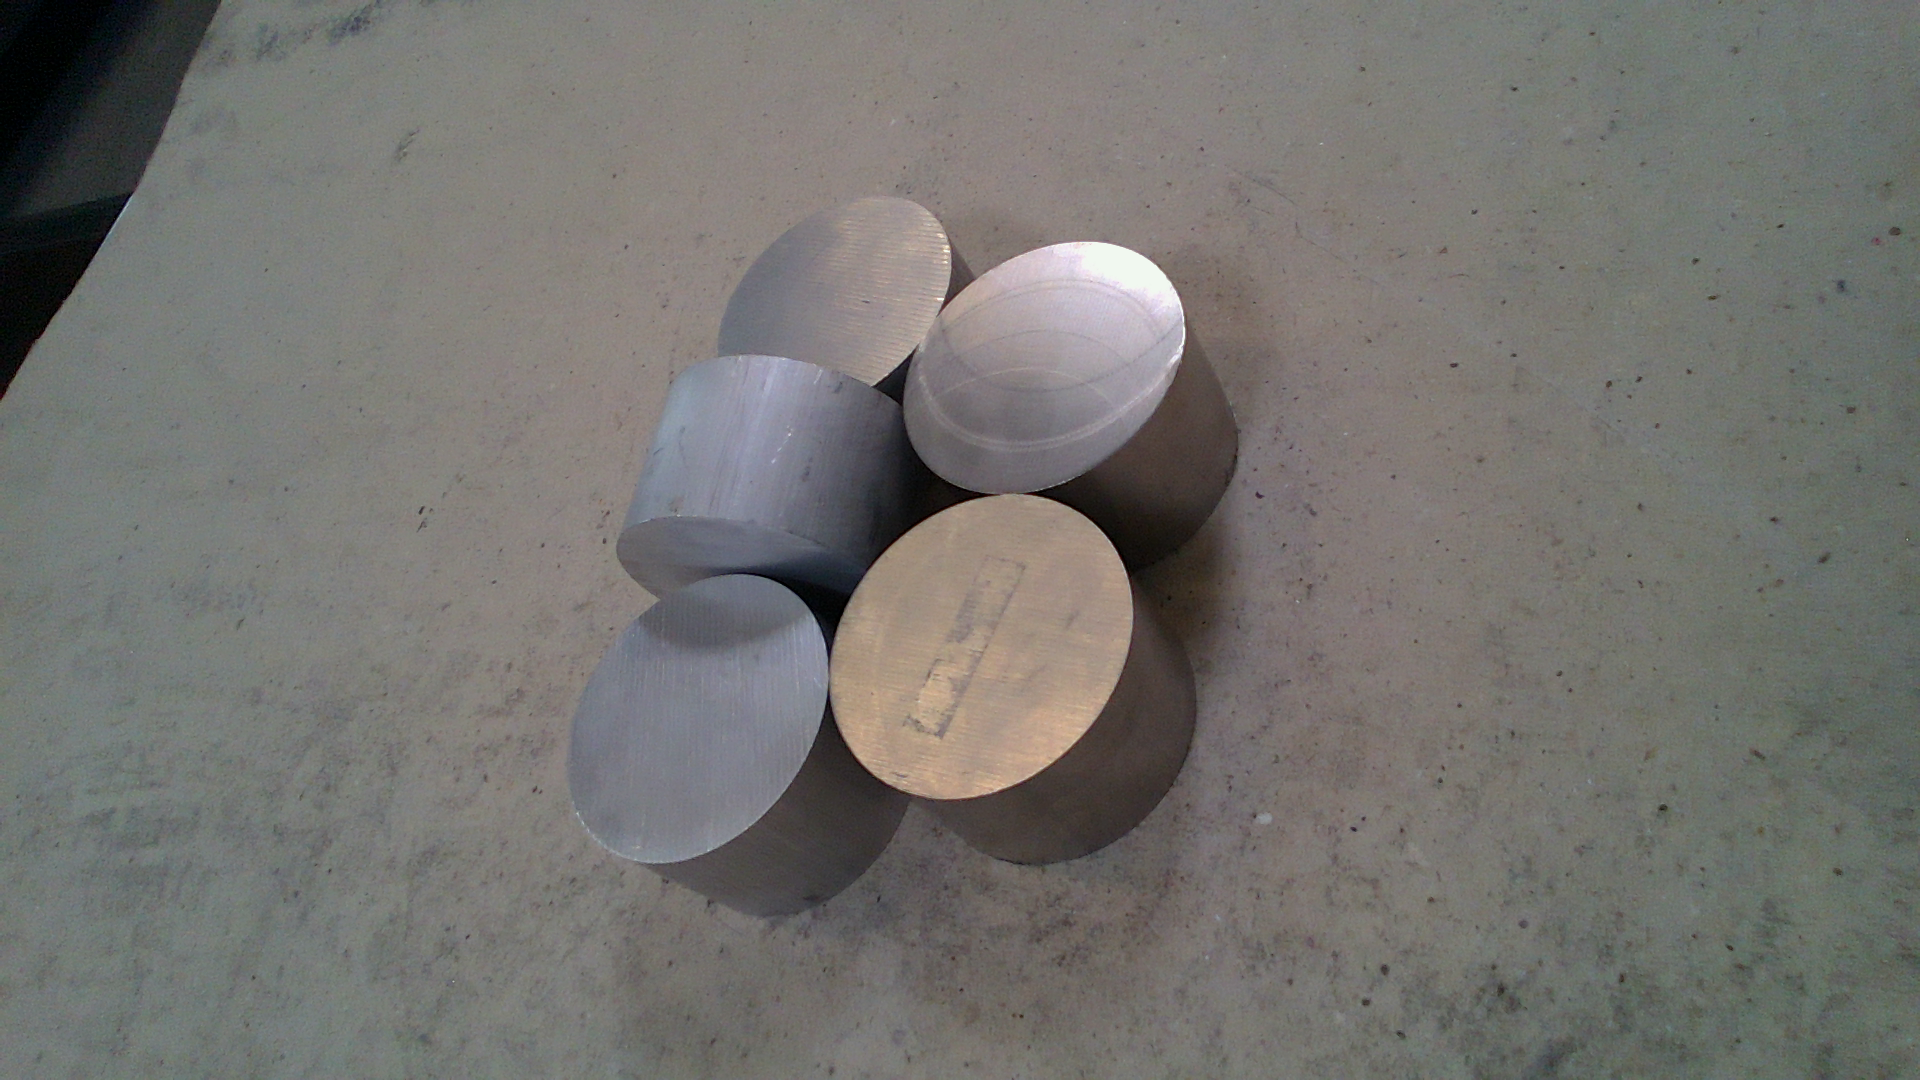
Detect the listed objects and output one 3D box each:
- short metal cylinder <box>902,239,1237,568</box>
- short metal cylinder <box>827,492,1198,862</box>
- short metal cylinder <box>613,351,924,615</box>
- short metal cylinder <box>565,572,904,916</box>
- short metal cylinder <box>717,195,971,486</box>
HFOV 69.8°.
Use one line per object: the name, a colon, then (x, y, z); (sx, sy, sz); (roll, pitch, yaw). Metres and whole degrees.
short metal cylinder: (0.031, -0.036, 0.382); (0.080, 0.050, 0.080); (-13, 56, 21)
short metal cylinder: (0.014, 0.035, 0.348); (0.080, 0.050, 0.080); (-14, 56, 22)
short metal cylinder: (-0.052, -0.010, 0.392); (0.080, 0.080, 0.050); (-3, 60, 27)
short metal cylinder: (-0.059, 0.056, 0.375); (0.080, 0.050, 0.080); (-14, 56, 22)
short metal cylinder: (-0.028, -0.060, 0.430); (0.080, 0.050, 0.080); (-14, 56, 22)
